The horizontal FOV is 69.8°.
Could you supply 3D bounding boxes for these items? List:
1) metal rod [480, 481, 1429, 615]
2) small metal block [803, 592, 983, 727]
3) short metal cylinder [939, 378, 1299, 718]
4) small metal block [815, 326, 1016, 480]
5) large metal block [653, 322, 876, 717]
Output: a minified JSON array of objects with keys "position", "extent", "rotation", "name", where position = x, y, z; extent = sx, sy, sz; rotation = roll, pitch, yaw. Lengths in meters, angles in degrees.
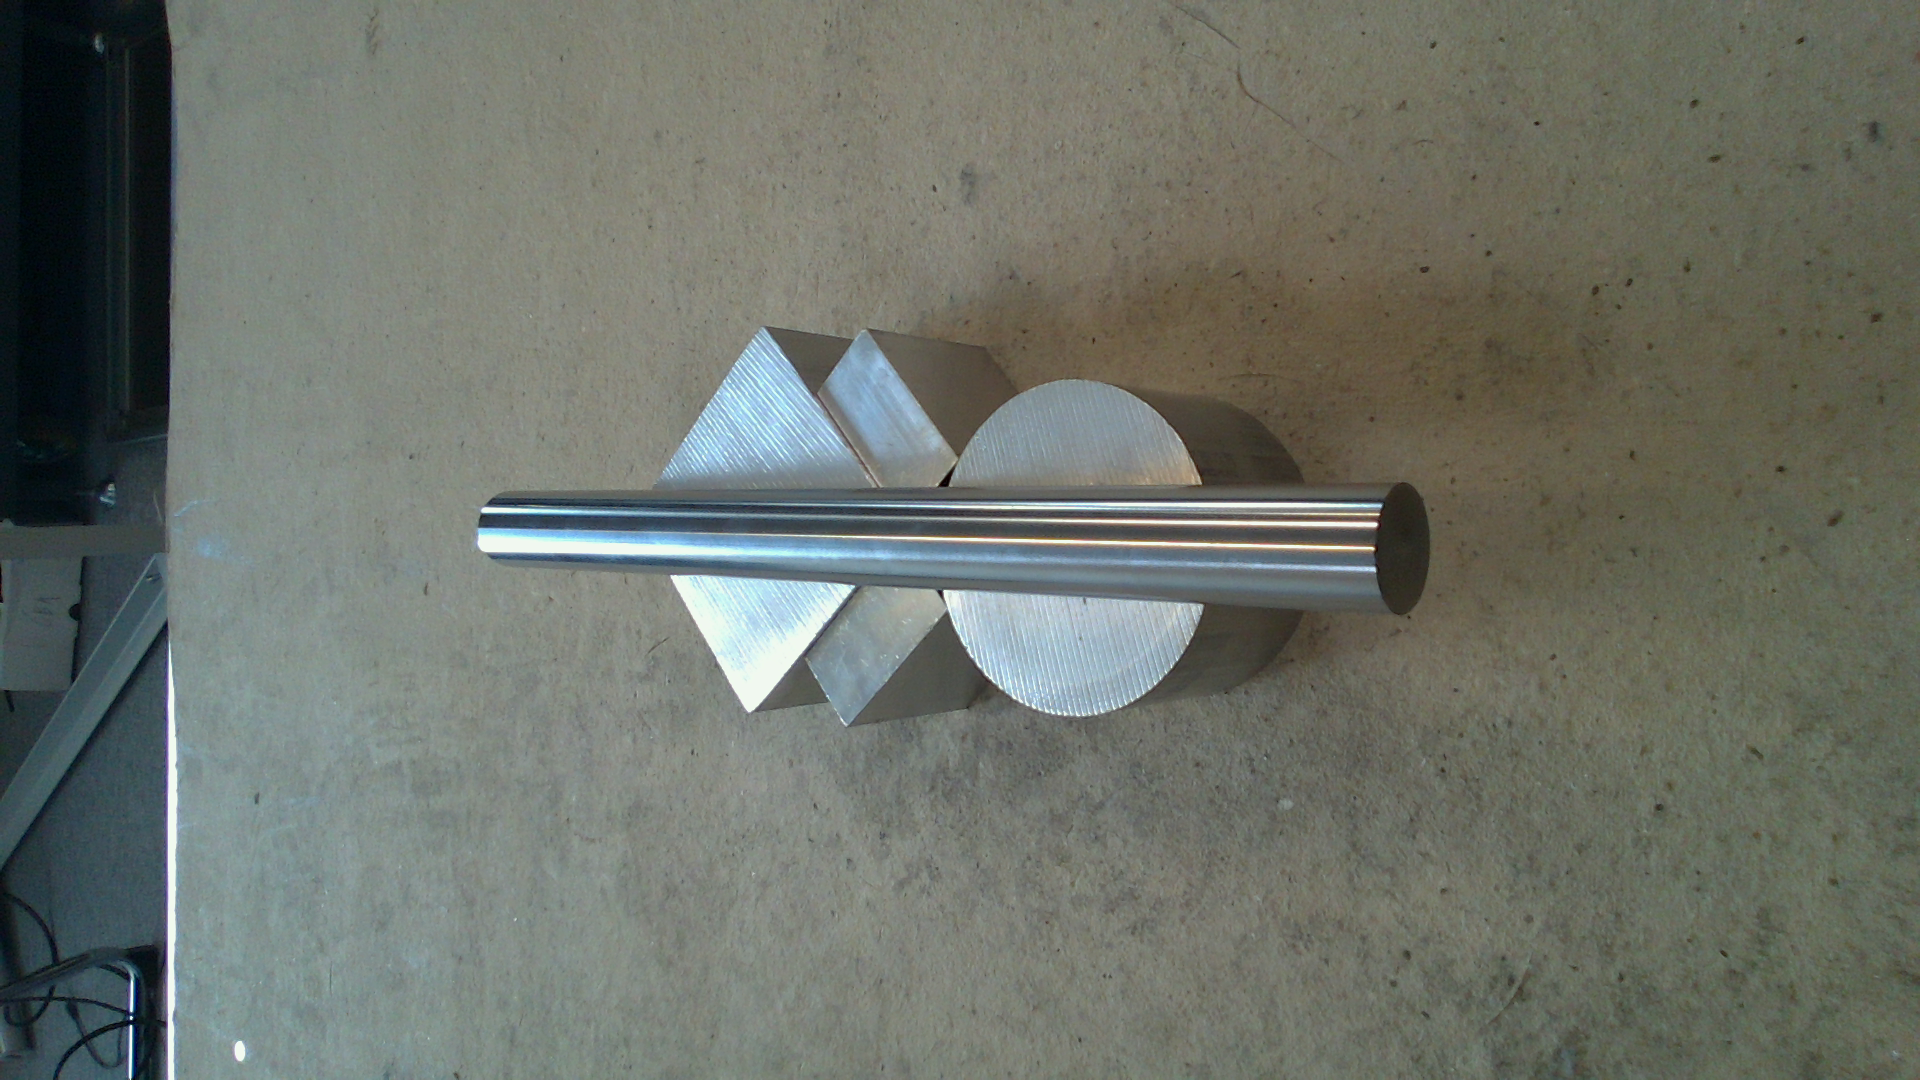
[{"position":[-0.031,-0.001,0.353],"extent":[0.299,0.025,0.025],"rotation":[1,91,40],"name":"metal rod"},{"position":[-0.007,0.025,0.386],"extent":[0.050,0.050,0.025],"rotation":[-50,61,28],"name":"small metal block"},{"position":[0.040,0.002,0.344],"extent":[0.080,0.050,0.080],"rotation":[0,90,40],"name":"short metal cylinder"},{"position":[-0.004,-0.031,0.383],"extent":[0.025,0.050,0.050],"rotation":[-50,61,28],"name":"small metal block"},{"position":[-0.042,-0.006,0.412],"extent":[0.080,0.050,0.080],"rotation":[-50,61,29],"name":"large metal block"}]
